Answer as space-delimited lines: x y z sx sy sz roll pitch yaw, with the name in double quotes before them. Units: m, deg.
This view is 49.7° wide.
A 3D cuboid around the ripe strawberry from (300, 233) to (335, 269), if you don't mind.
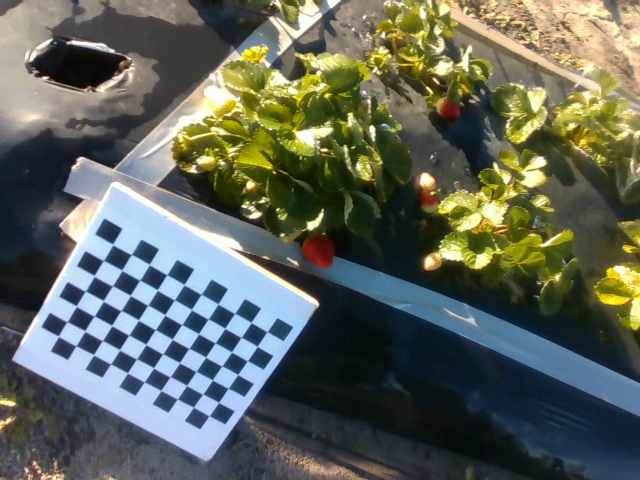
"ripe strawberry" -0.003 0.016 0.901 0.045 0.049 0.064 -32 42 5
